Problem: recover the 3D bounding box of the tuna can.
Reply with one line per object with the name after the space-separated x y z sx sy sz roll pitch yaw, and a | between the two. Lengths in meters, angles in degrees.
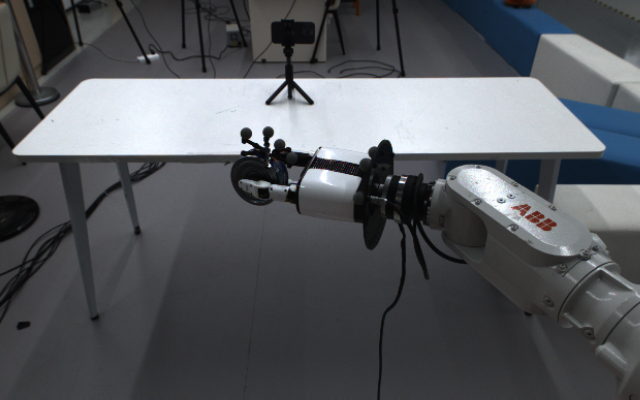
-0.091 -0.029 0.744 0.085 0.085 0.034 15 30 18 | tuna can
